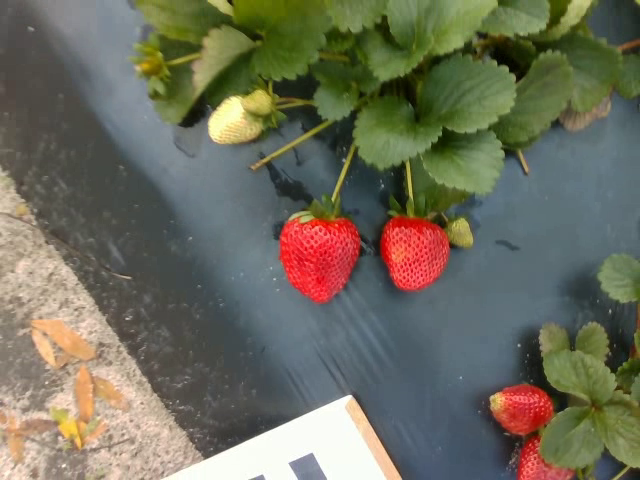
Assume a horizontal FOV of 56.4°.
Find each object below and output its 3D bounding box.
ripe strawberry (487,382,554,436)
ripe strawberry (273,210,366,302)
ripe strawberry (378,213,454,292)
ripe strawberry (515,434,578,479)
[{"bbox_3d":[0.133,0.113,0.406,0.053,0.047,0.039,23,32,-19],"label":"ripe strawberry"},{"bbox_3d":[-0.003,0.015,0.409,0.058,0.065,0.043,2,-3,28],"label":"ripe strawberry"},{"bbox_3d":[0.063,0.012,0.409,0.050,0.060,0.051,-4,-37,29],"label":"ripe strawberry"},{"bbox_3d":[0.148,0.154,0.397,0.049,0.044,0.041,-33,-3,-36],"label":"ripe strawberry"}]
